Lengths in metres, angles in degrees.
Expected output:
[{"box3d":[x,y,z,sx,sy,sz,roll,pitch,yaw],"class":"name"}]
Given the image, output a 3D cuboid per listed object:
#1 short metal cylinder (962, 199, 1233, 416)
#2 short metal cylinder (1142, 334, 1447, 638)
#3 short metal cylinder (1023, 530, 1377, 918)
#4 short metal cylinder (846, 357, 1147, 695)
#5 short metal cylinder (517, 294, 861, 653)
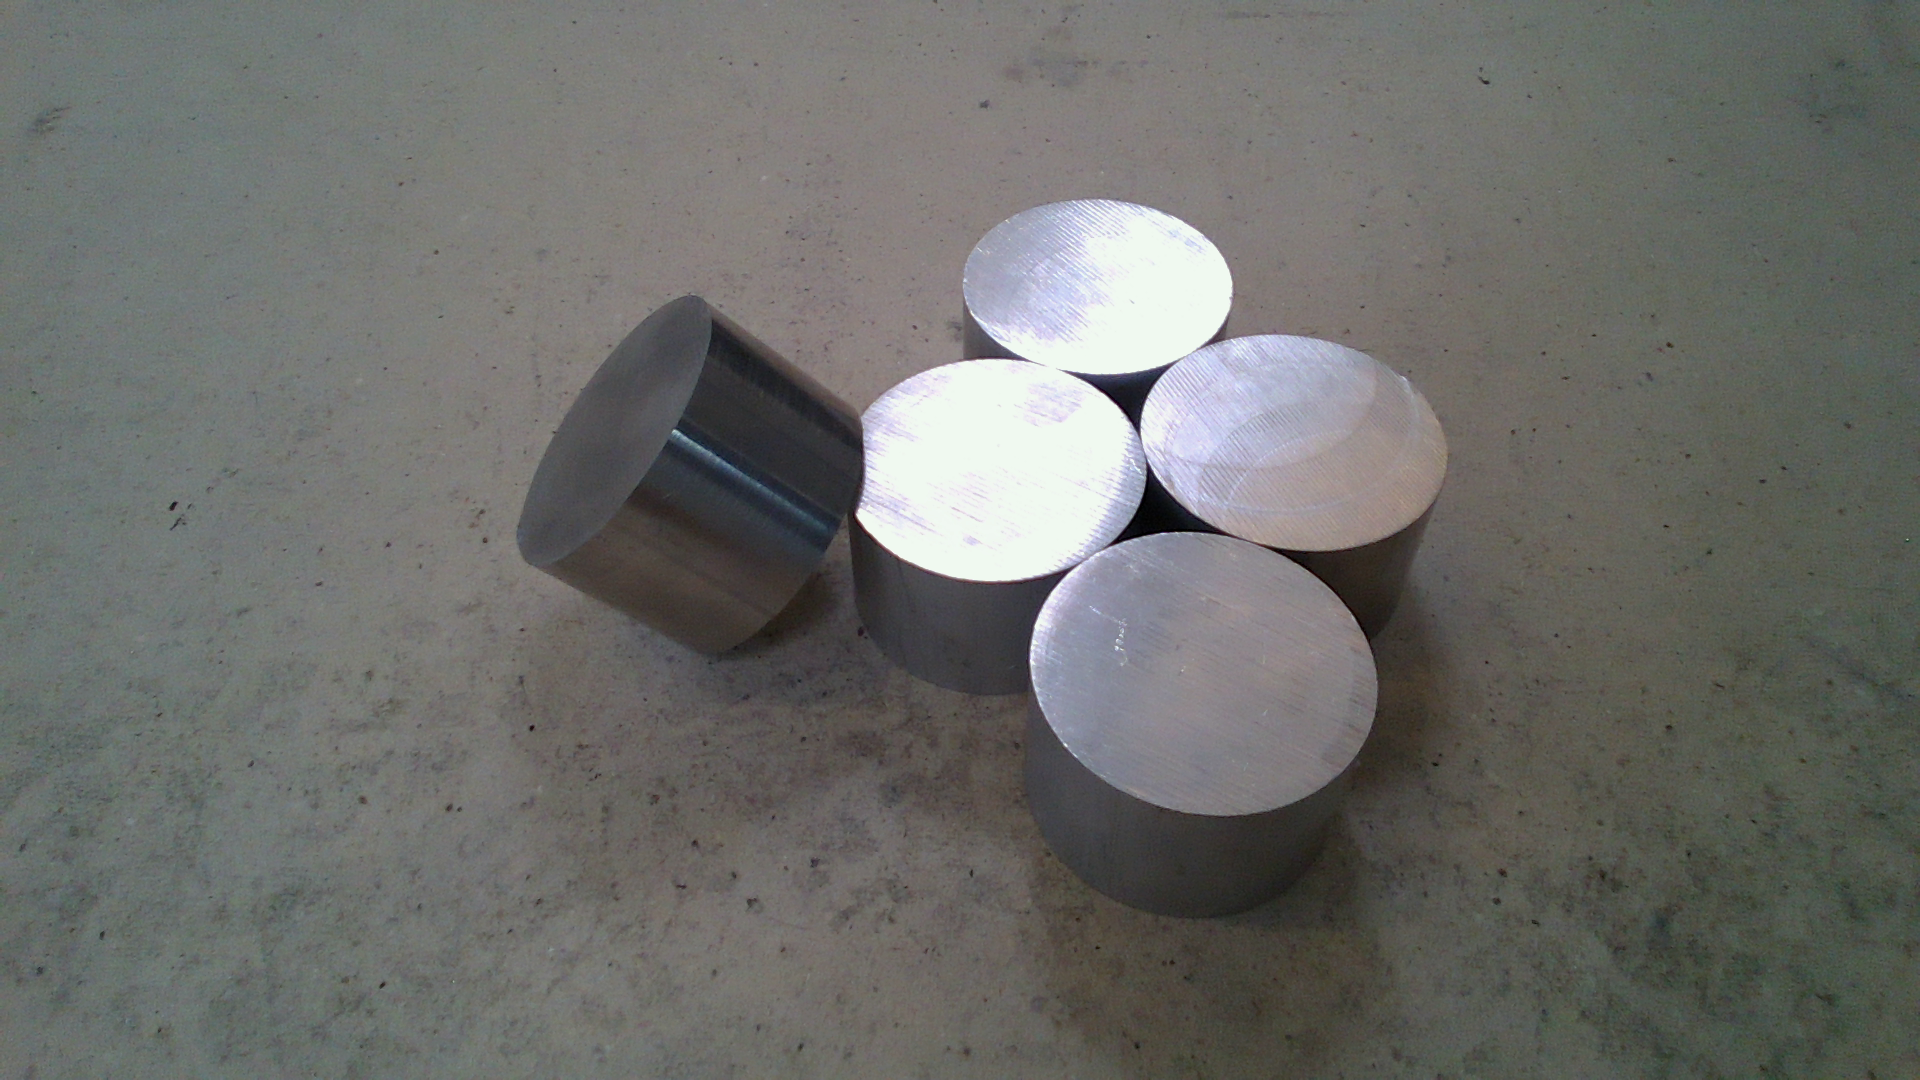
[{"box3d":[0.041,-0.061,0.427,0.080,0.050,0.080,0,50,0],"class":"short metal cylinder"},{"box3d":[0.089,-0.012,0.386,0.080,0.050,0.080,0,50,0],"class":"short metal cylinder"},{"box3d":[0.056,0.044,0.338,0.080,0.050,0.080,0,50,0],"class":"short metal cylinder"},{"box3d":[0.009,-0.005,0.379,0.080,0.050,0.080,0,50,0],"class":"short metal cylinder"},{"box3d":[-0.072,-0.017,0.363,0.080,0.050,0.080,-33,38,32],"class":"short metal cylinder"}]
